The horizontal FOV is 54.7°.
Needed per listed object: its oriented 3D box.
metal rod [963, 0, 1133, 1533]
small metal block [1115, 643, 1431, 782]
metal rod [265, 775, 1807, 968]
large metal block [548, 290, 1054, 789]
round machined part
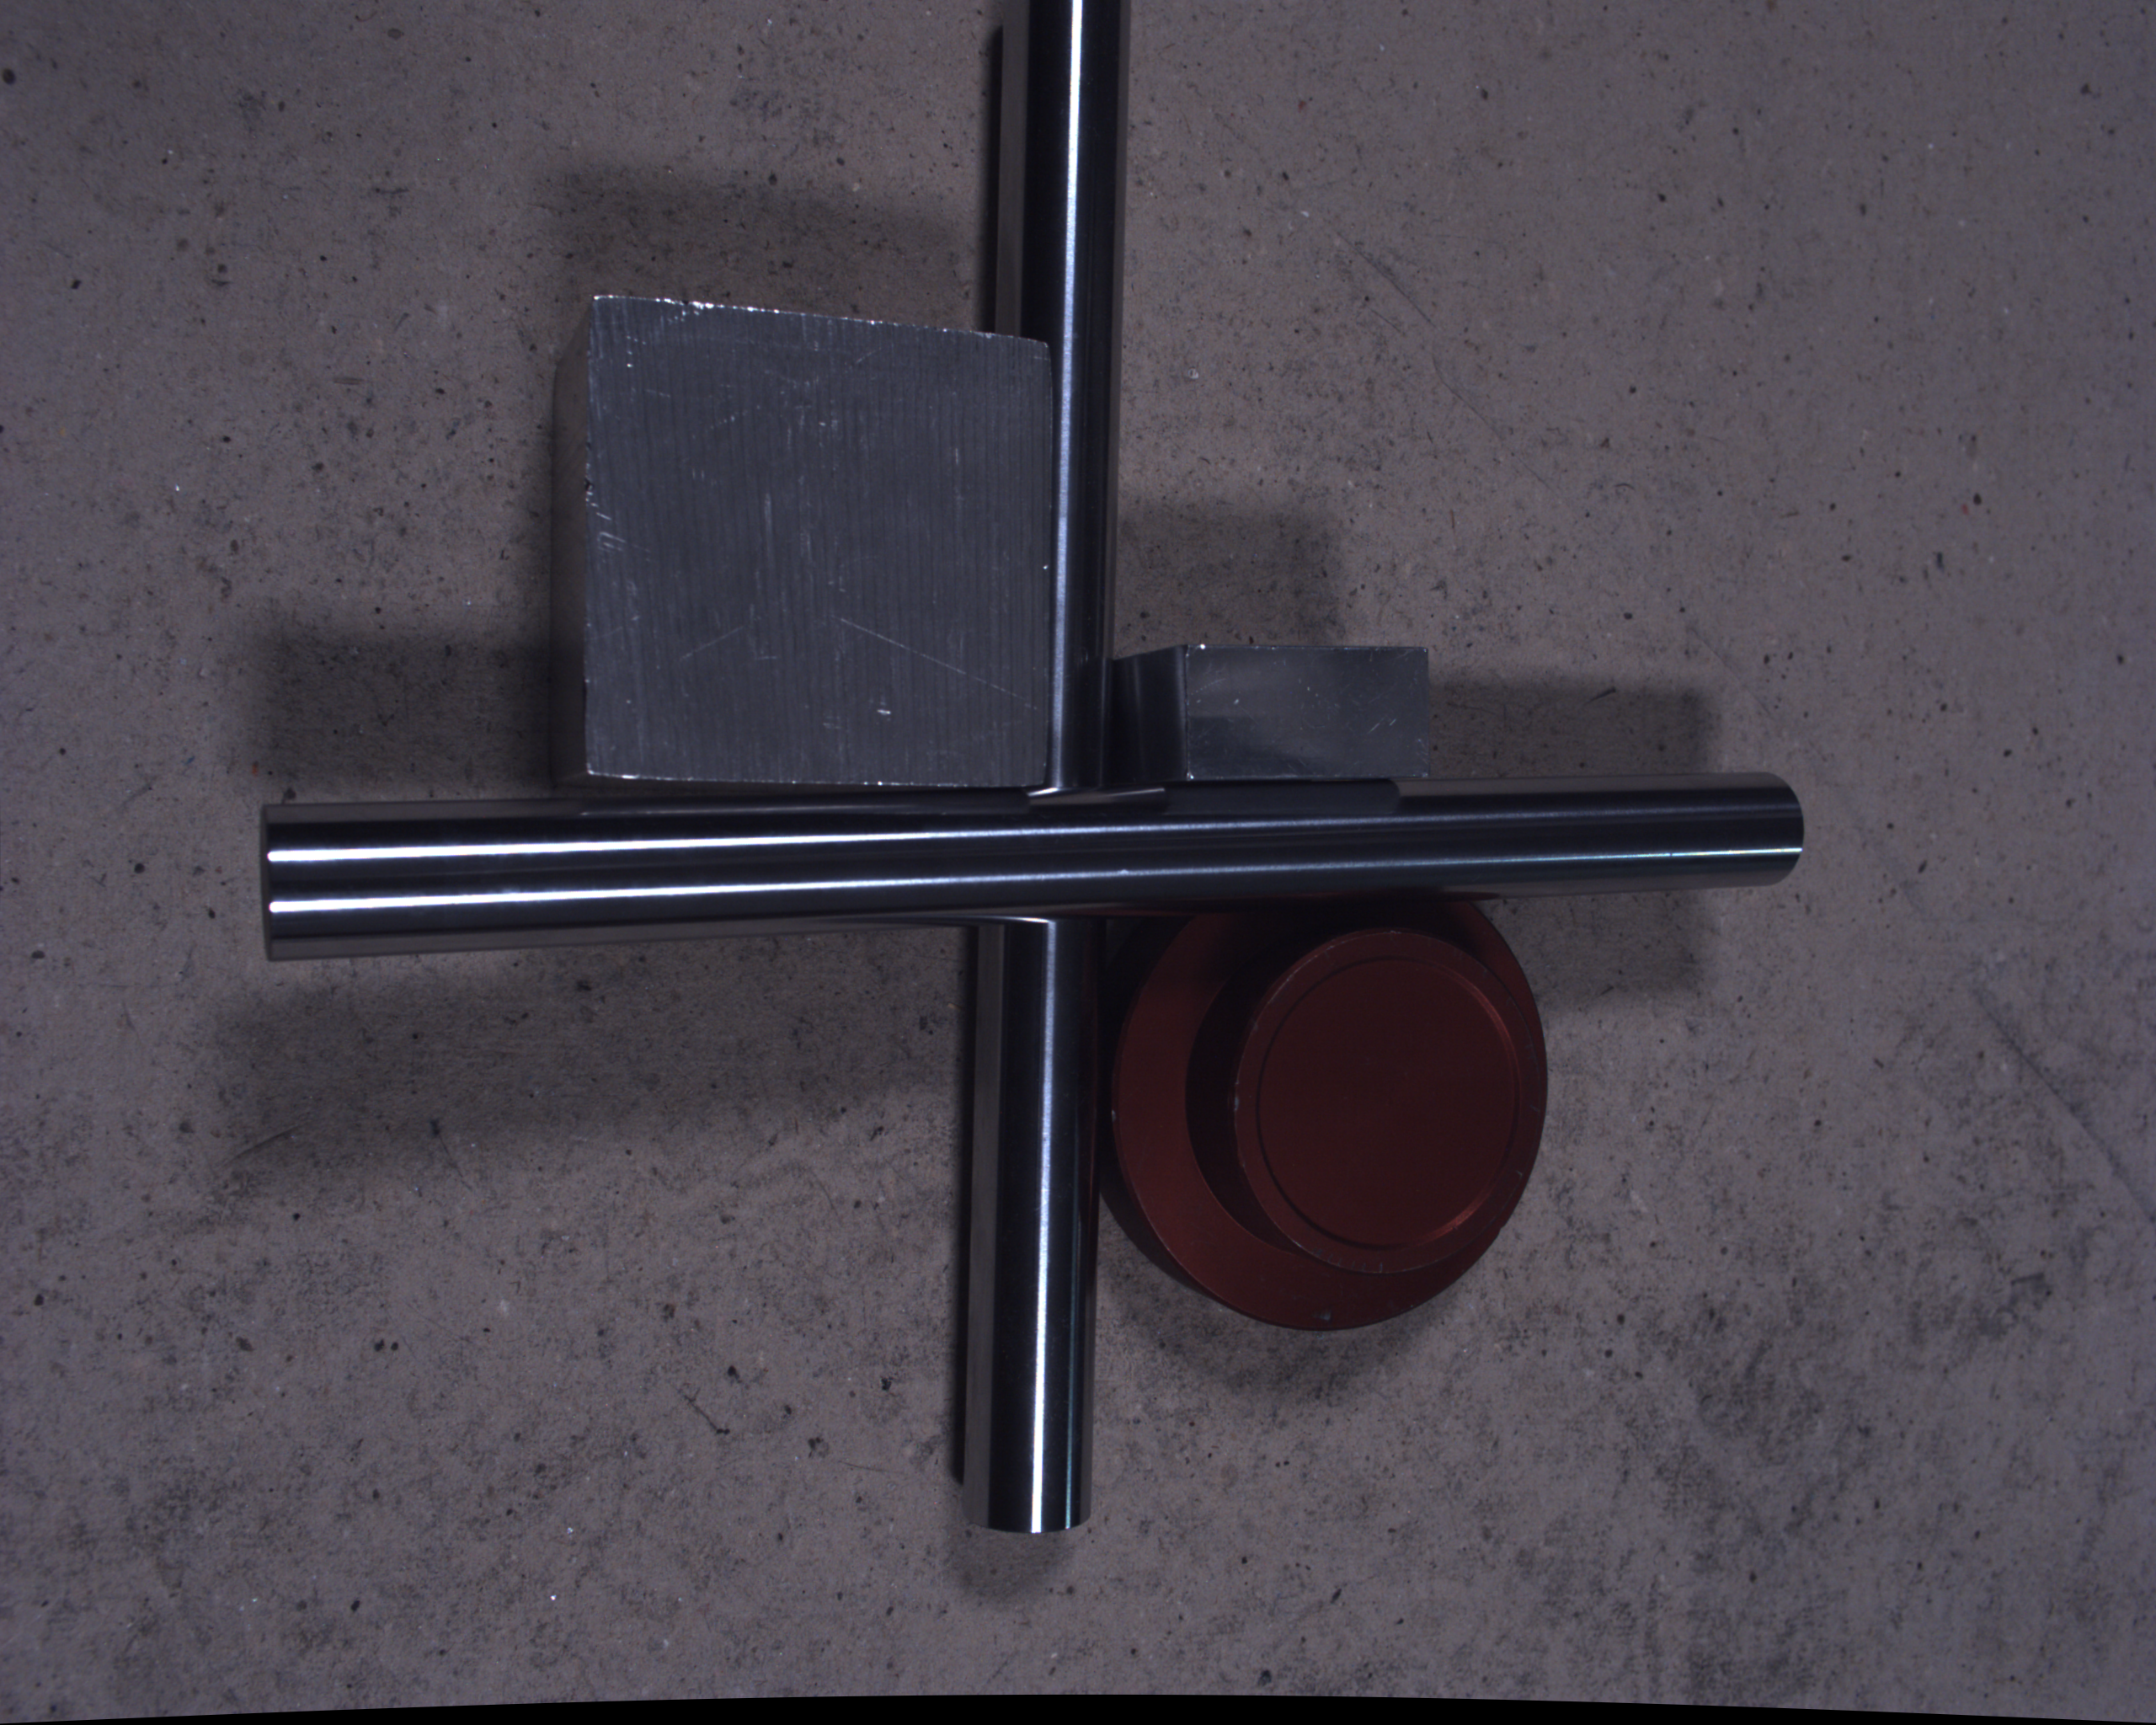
[{"bbox_3d":[-0.006,-0.022,0.409,0.025,0.025,0.298,2,89,-20],"label":"metal rod"},{"bbox_3d":[0.035,-0.028,0.411,0.050,0.050,0.025,-2,91,-20],"label":"small metal block"},{"bbox_3d":[0.011,-0.001,0.389,0.303,0.025,0.025,-2,91,-24],"label":"metal rod"},{"bbox_3d":[-0.051,-0.053,0.378,0.081,0.050,0.079,1,90,-21],"label":"large metal block"},{"bbox_3d":[0.054,0.047,0.421,0.099,0.042,0.097,0,90,-21],"label":"round machined part"}]
